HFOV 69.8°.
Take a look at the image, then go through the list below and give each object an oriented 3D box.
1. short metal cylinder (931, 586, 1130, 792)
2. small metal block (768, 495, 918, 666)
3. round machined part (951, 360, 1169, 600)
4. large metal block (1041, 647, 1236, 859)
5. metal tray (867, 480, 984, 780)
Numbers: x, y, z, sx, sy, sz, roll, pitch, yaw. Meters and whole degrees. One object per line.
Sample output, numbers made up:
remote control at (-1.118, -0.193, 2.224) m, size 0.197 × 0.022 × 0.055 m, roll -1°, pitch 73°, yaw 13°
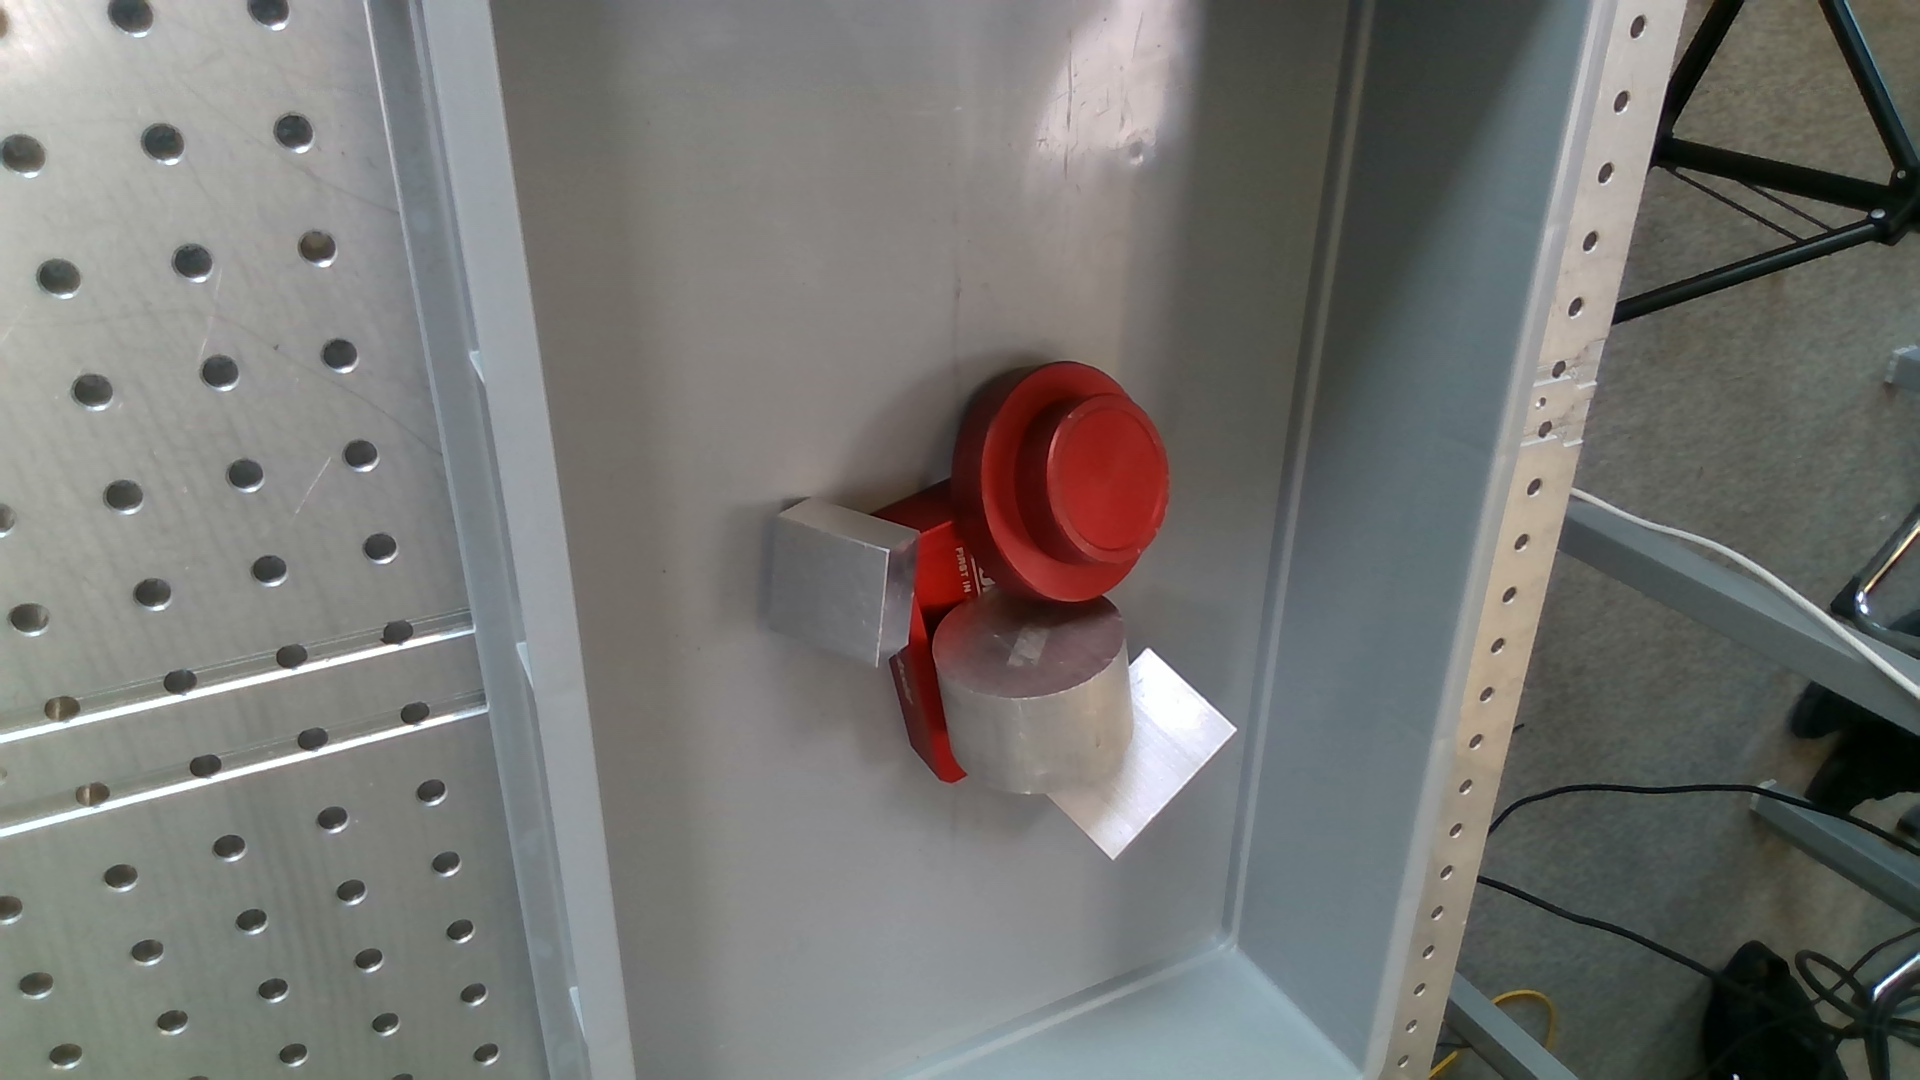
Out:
short metal cylinder at (0.031, 0.060, 0.580) m, size 0.080 × 0.080 × 0.050 m, roll -23°, pitch 125°, yaw -20°
small metal block at (-0.046, 0.015, 0.541) m, size 0.025 × 0.050 × 0.050 m, roll -35°, pitch 137°, yaw -57°
round machined part at (0.047, -0.025, 0.560) m, size 0.098 × 0.042 × 0.098 m, roll 2°, pitch 87°, yaw -39°
large metal block at (0.081, 0.101, 0.643) m, size 0.080 × 0.050 × 0.080 m, roll -46°, pitch 166°, yaw -2°
metal tray at (0.012, 0.033, 0.603) m, size 0.090 × 0.030 × 0.130 m, roll -25°, pitch 125°, yaw -18°
